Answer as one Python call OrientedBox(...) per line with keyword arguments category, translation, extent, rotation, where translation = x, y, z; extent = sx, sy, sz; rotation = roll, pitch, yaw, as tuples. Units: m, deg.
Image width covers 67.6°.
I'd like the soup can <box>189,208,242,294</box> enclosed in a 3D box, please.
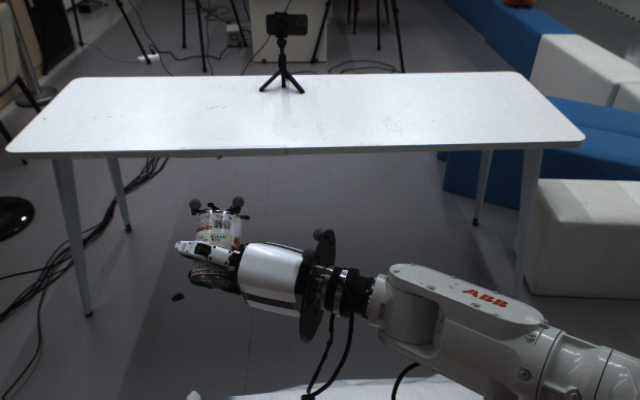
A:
OrientedBox(category="soup can", translation=(-0.150, 0.074, 0.710), extent=(0.067, 0.067, 0.101), rotation=(1, 68, -1))
